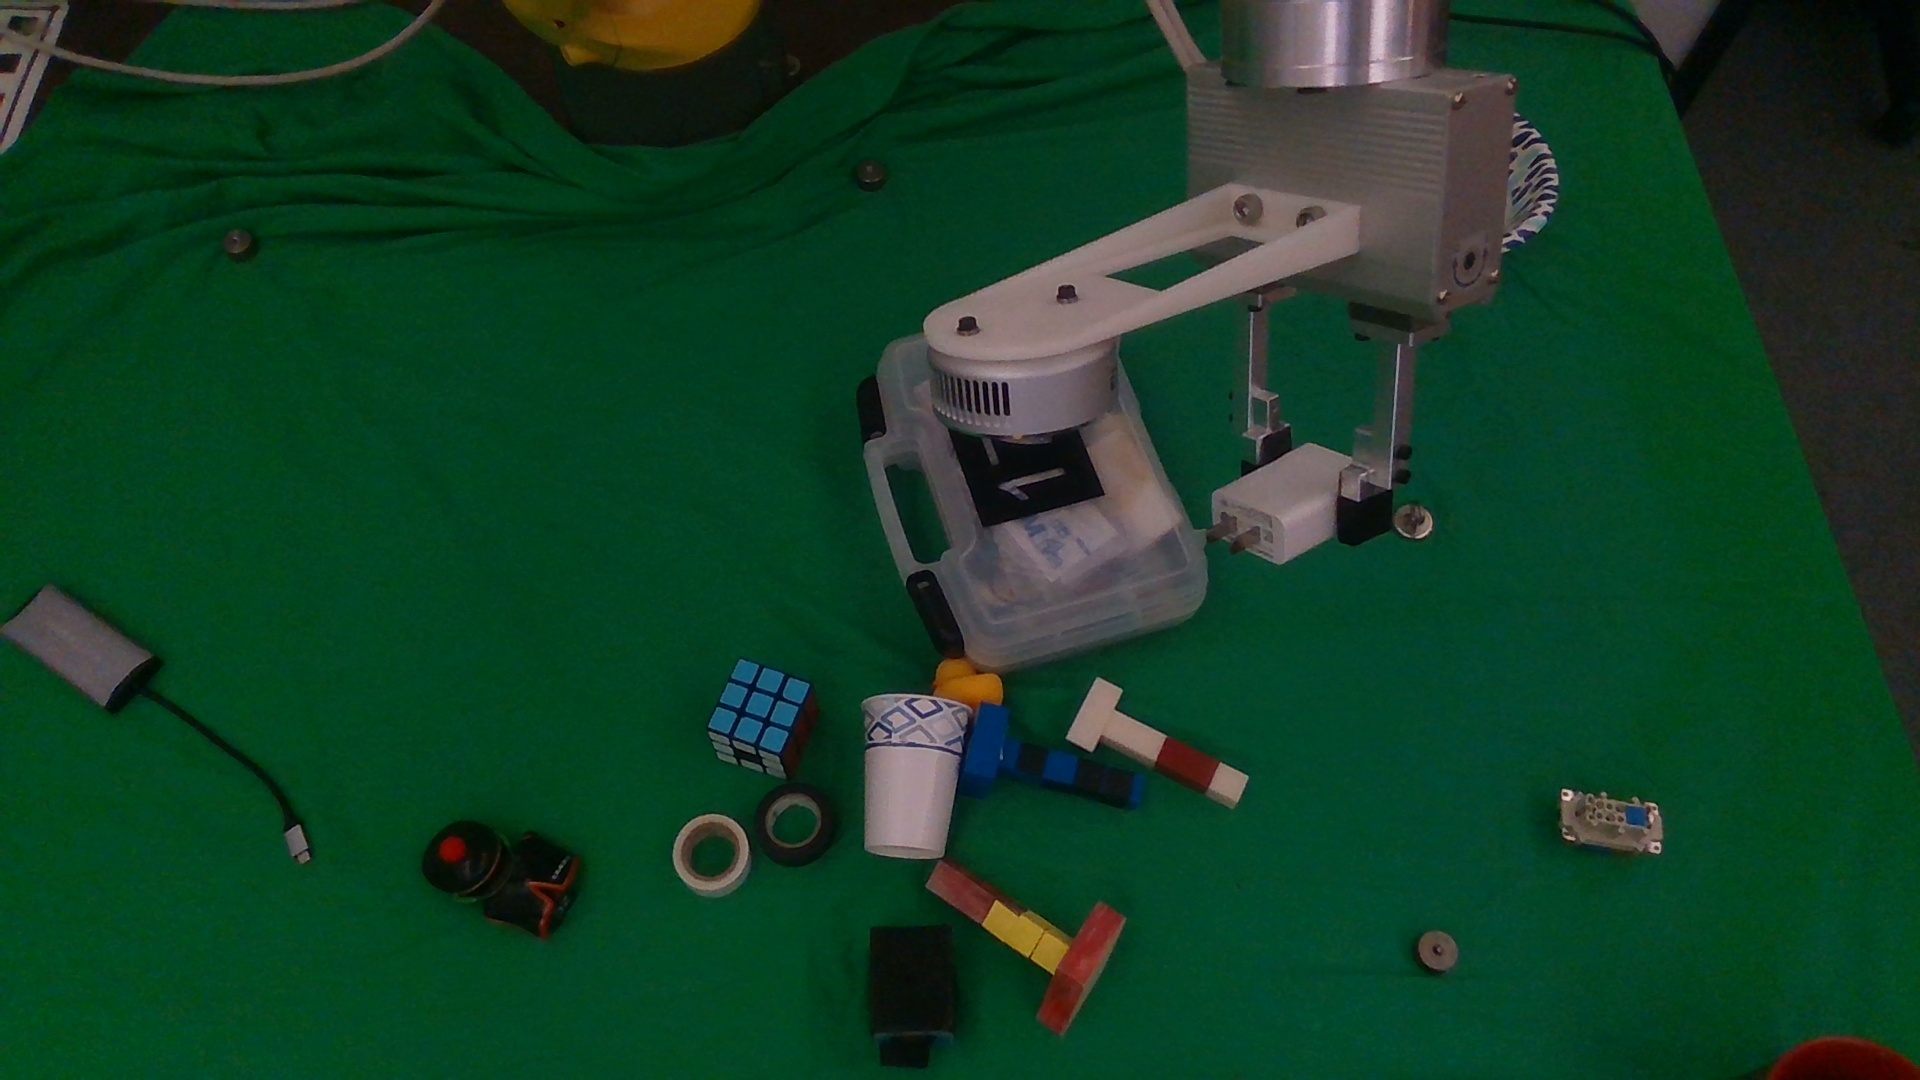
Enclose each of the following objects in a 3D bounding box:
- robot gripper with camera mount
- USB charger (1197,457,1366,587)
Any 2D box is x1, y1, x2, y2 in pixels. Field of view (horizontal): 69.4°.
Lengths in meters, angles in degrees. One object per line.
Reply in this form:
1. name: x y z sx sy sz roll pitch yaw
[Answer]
1. robot gripper with camera mount: 0.070 -0.050 0.474 0.193 0.158 0.119 -22 36 -29
2. USB charger: 0.120 -0.006 0.539 0.045 0.029 0.075 27 38 32
